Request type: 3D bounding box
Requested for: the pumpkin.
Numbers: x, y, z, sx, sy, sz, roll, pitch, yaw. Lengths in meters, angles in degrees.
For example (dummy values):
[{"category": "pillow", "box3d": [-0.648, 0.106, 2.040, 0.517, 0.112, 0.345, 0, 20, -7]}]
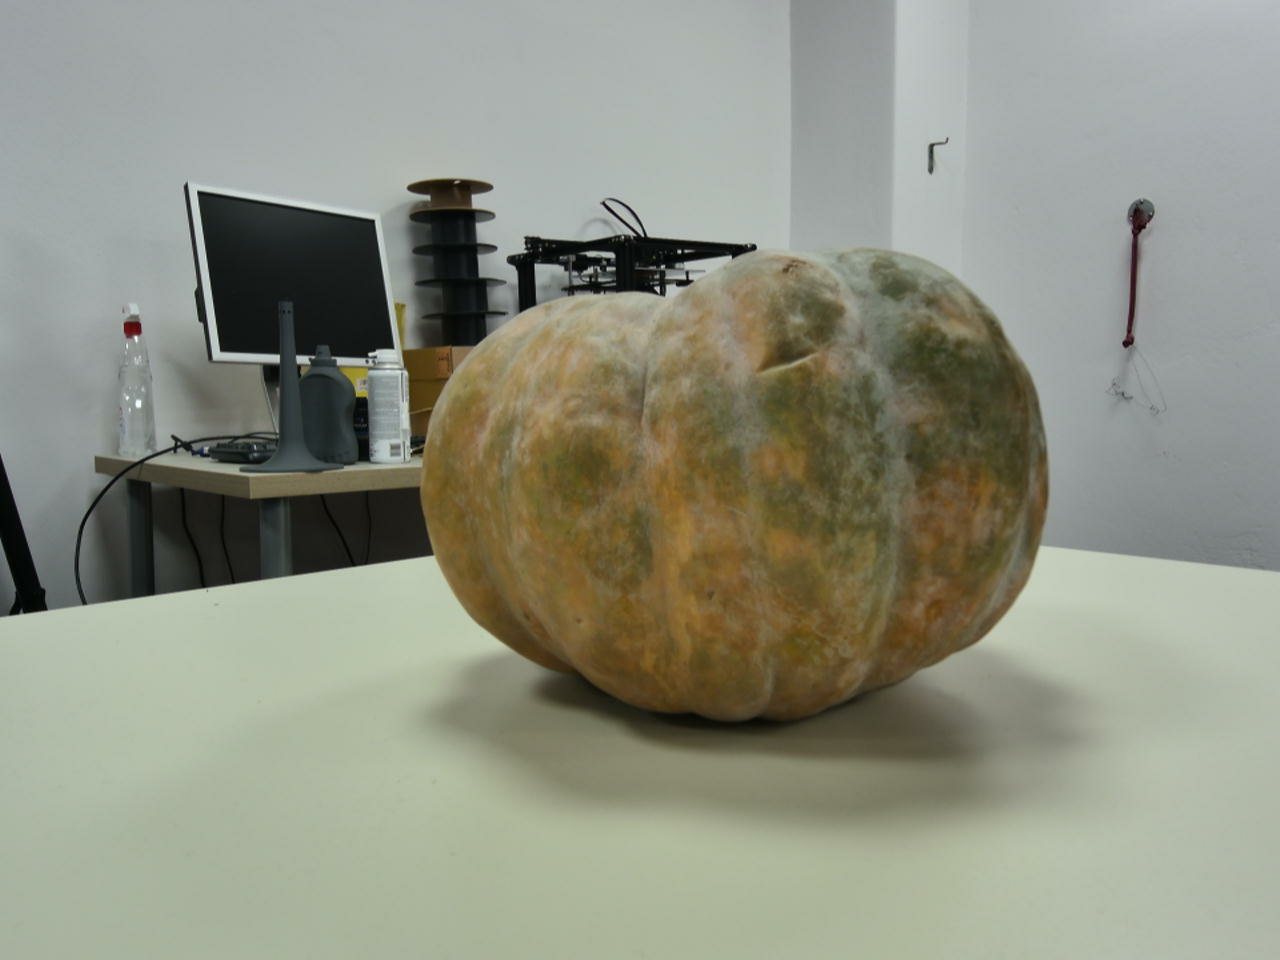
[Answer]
[{"category": "pumpkin", "box3d": [0.039, 0.001, 0.414, 0.252, 0.168, 0.252, 0, 3, 0]}]
